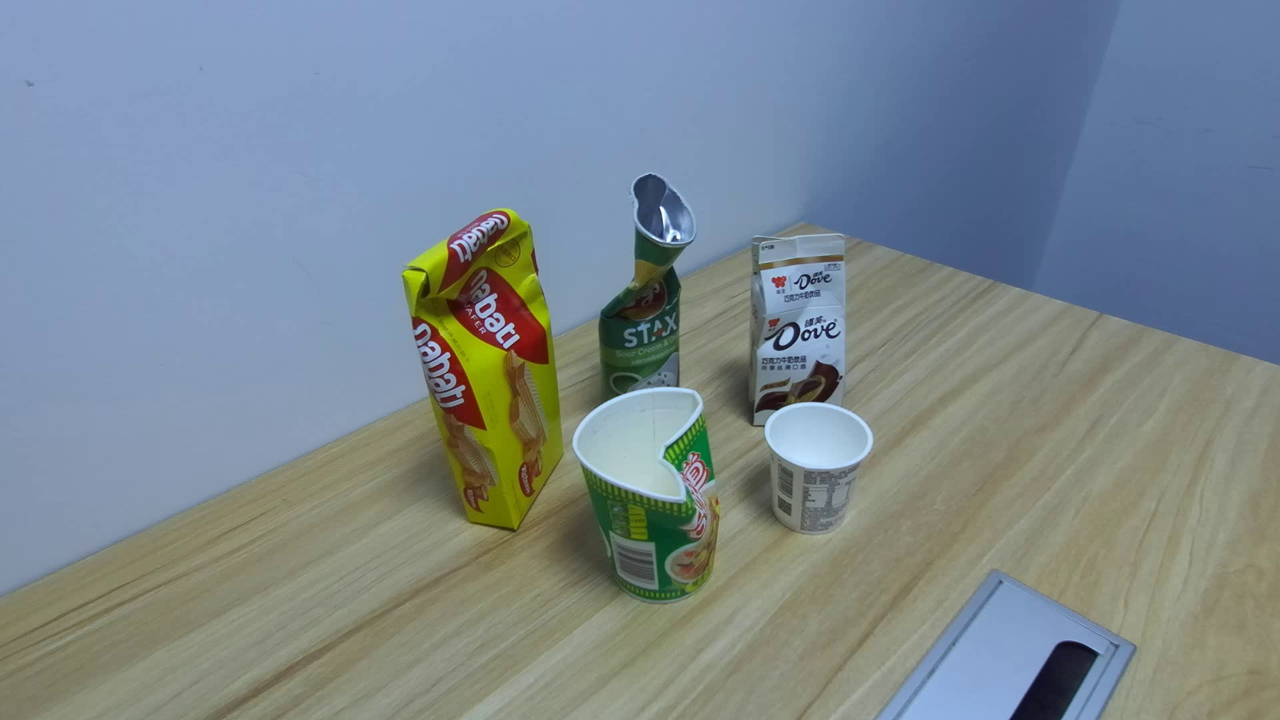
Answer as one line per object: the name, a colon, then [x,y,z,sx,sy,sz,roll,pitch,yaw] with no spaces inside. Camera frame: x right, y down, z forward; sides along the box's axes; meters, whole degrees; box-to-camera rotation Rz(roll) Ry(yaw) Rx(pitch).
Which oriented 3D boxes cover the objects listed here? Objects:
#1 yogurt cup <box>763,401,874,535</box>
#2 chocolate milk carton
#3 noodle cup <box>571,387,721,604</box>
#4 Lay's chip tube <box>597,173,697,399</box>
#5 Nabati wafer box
yogurt cup: [0.119,0.077,0.486,0.072,0.068,0.072,-2,33,2]
chocolate milk carton: [0.129,-0.028,0.568,0.084,0.155,0.073,0,33,3]
noodle cup: [0.010,0.087,0.441,0.086,0.109,0.094,17,38,27]
Lay's chip tube: [0.007,-0.033,0.550,0.071,0.199,0.079,22,41,22]
Nabati wafer box: [-0.098,0.011,0.484,0.042,0.205,0.113,7,35,19]
